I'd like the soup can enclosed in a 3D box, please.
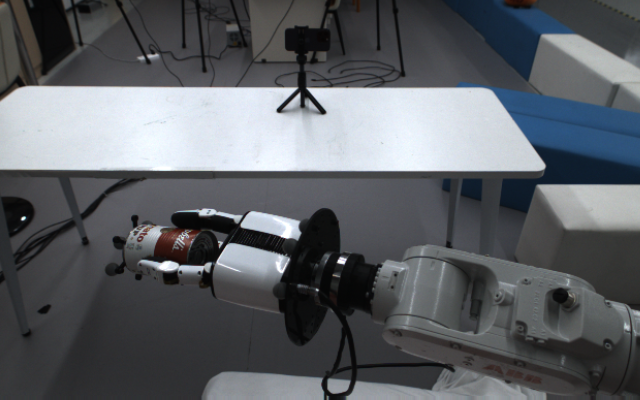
[{"bbox_3d":[-0.190,0.070,0.624,0.101,0.067,0.067,4,34,20],"label":"soup can"}]
